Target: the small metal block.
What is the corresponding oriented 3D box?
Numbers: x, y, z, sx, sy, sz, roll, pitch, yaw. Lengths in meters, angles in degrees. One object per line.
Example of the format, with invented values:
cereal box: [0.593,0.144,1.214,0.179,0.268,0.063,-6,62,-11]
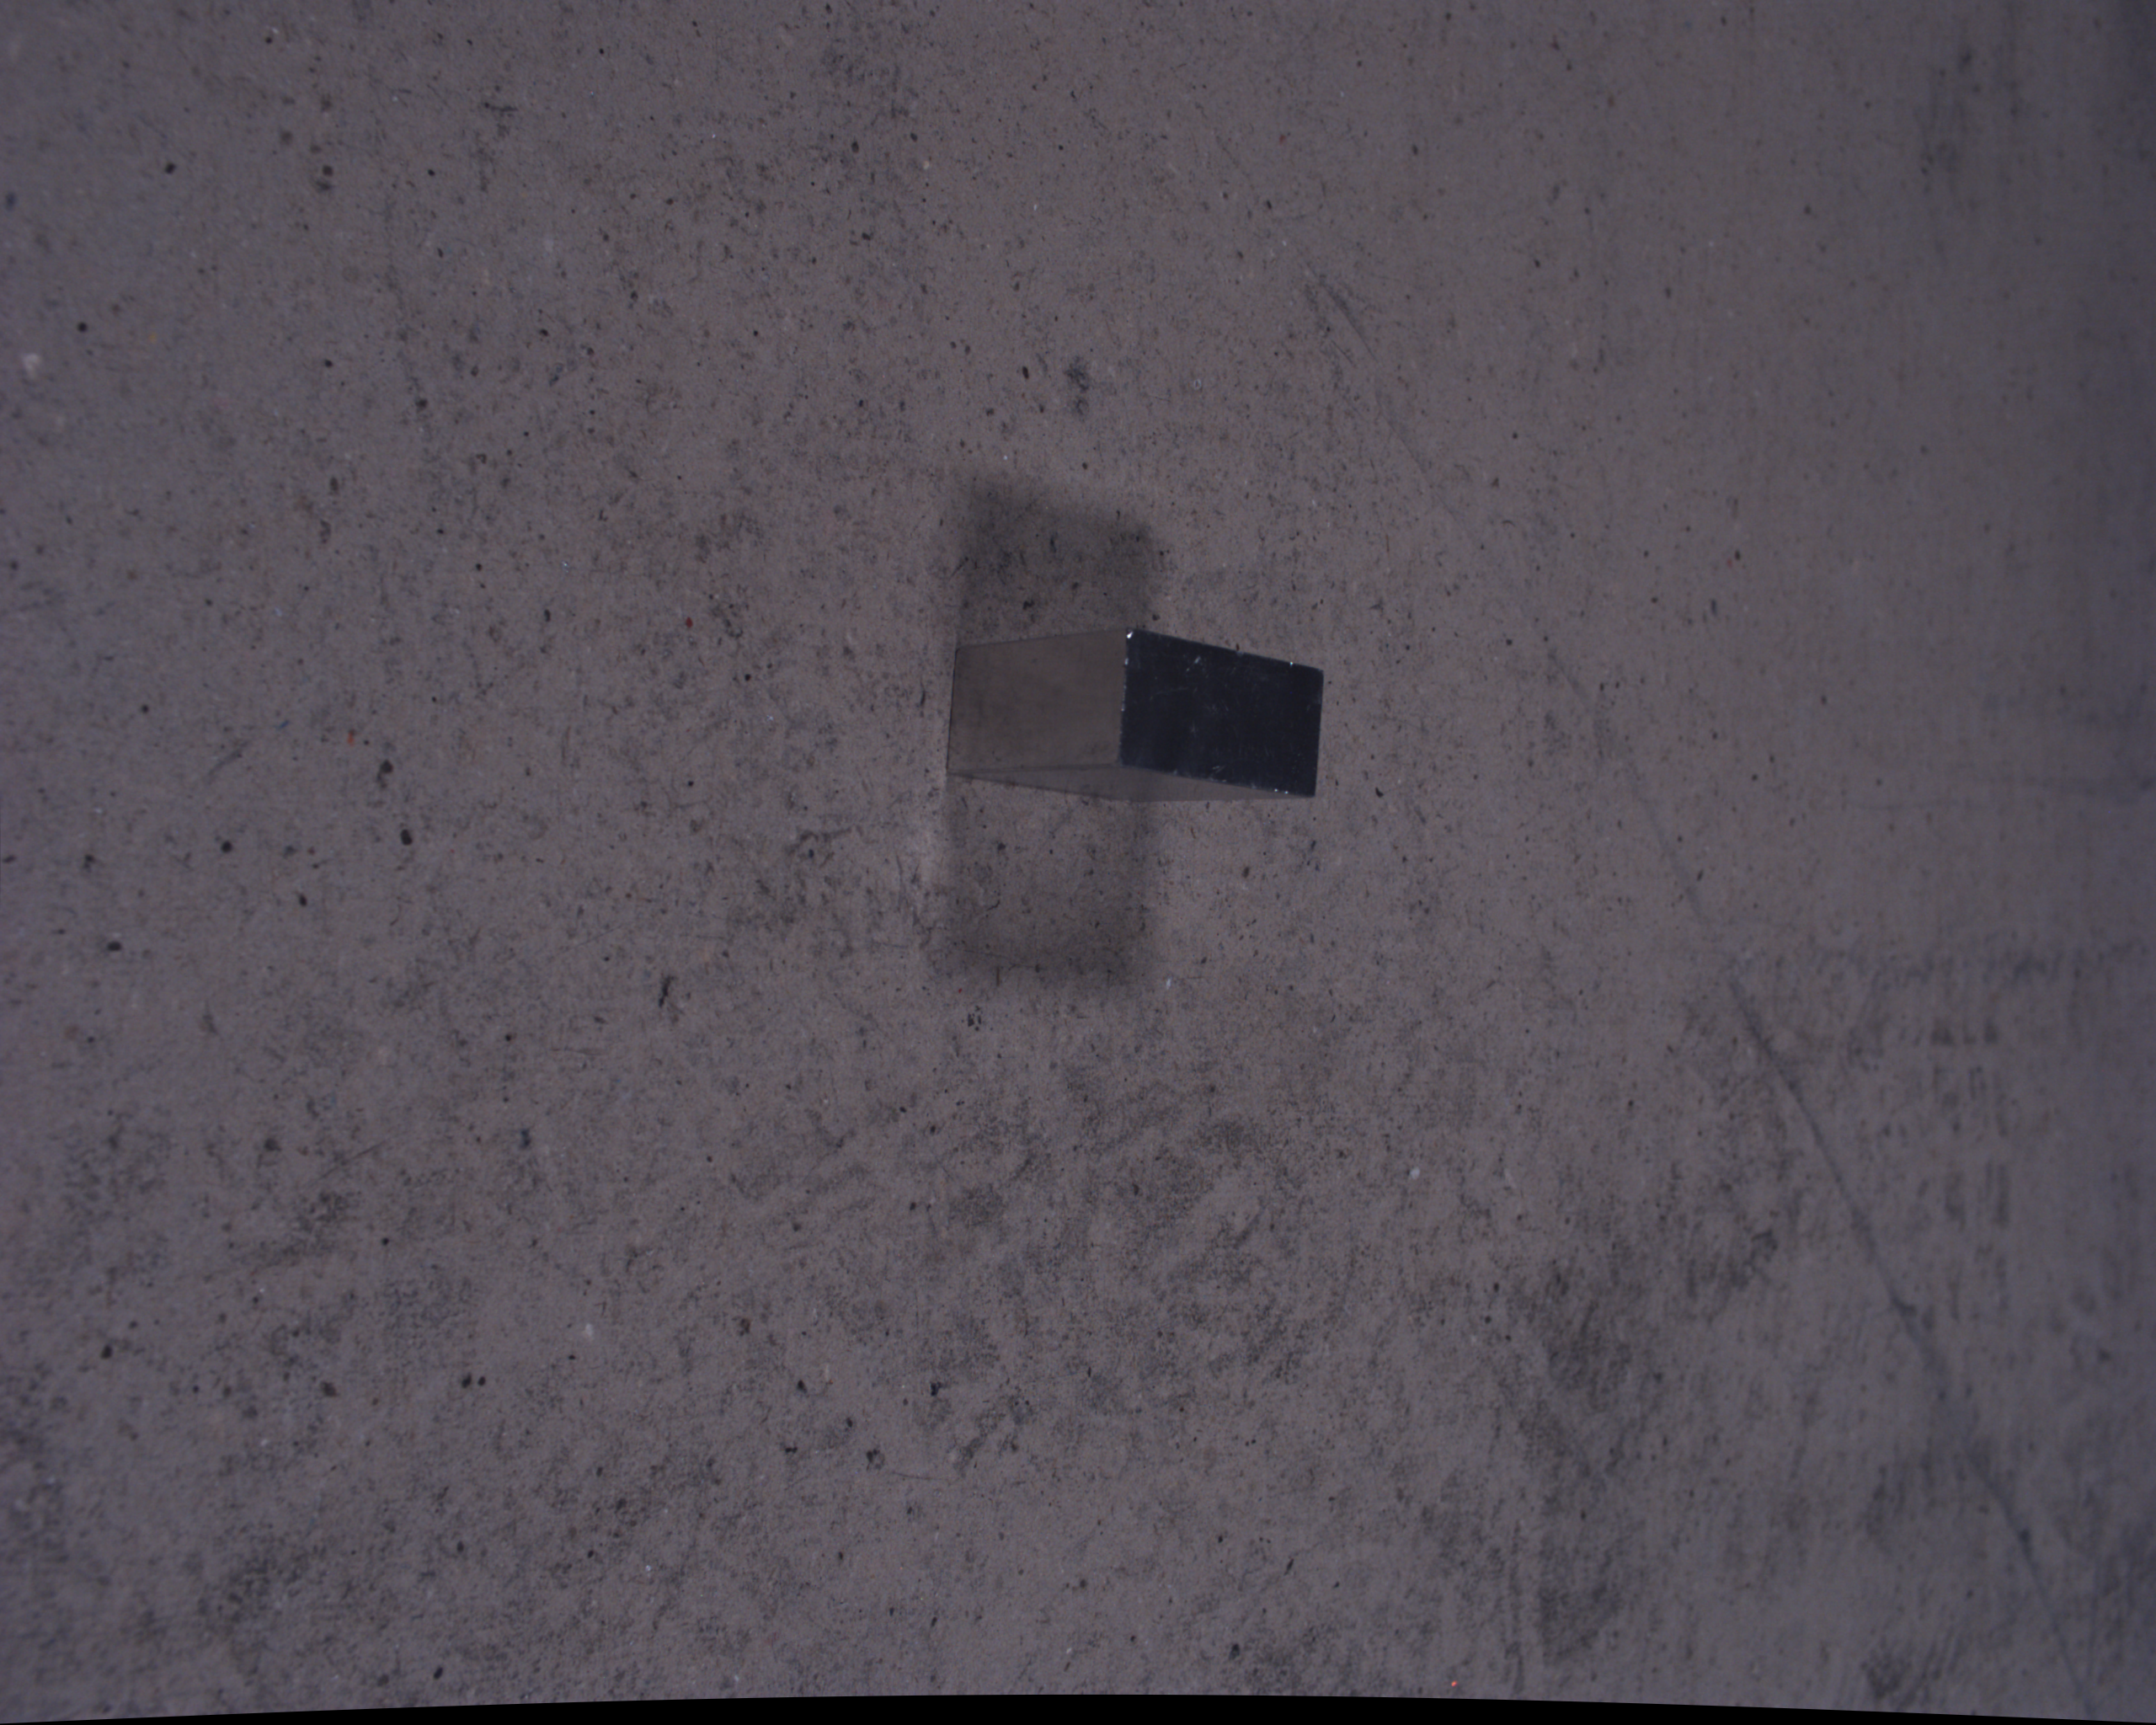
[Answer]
small metal block: [0.012,-0.027,0.401,0.050,0.050,0.025,7,86,-40]
